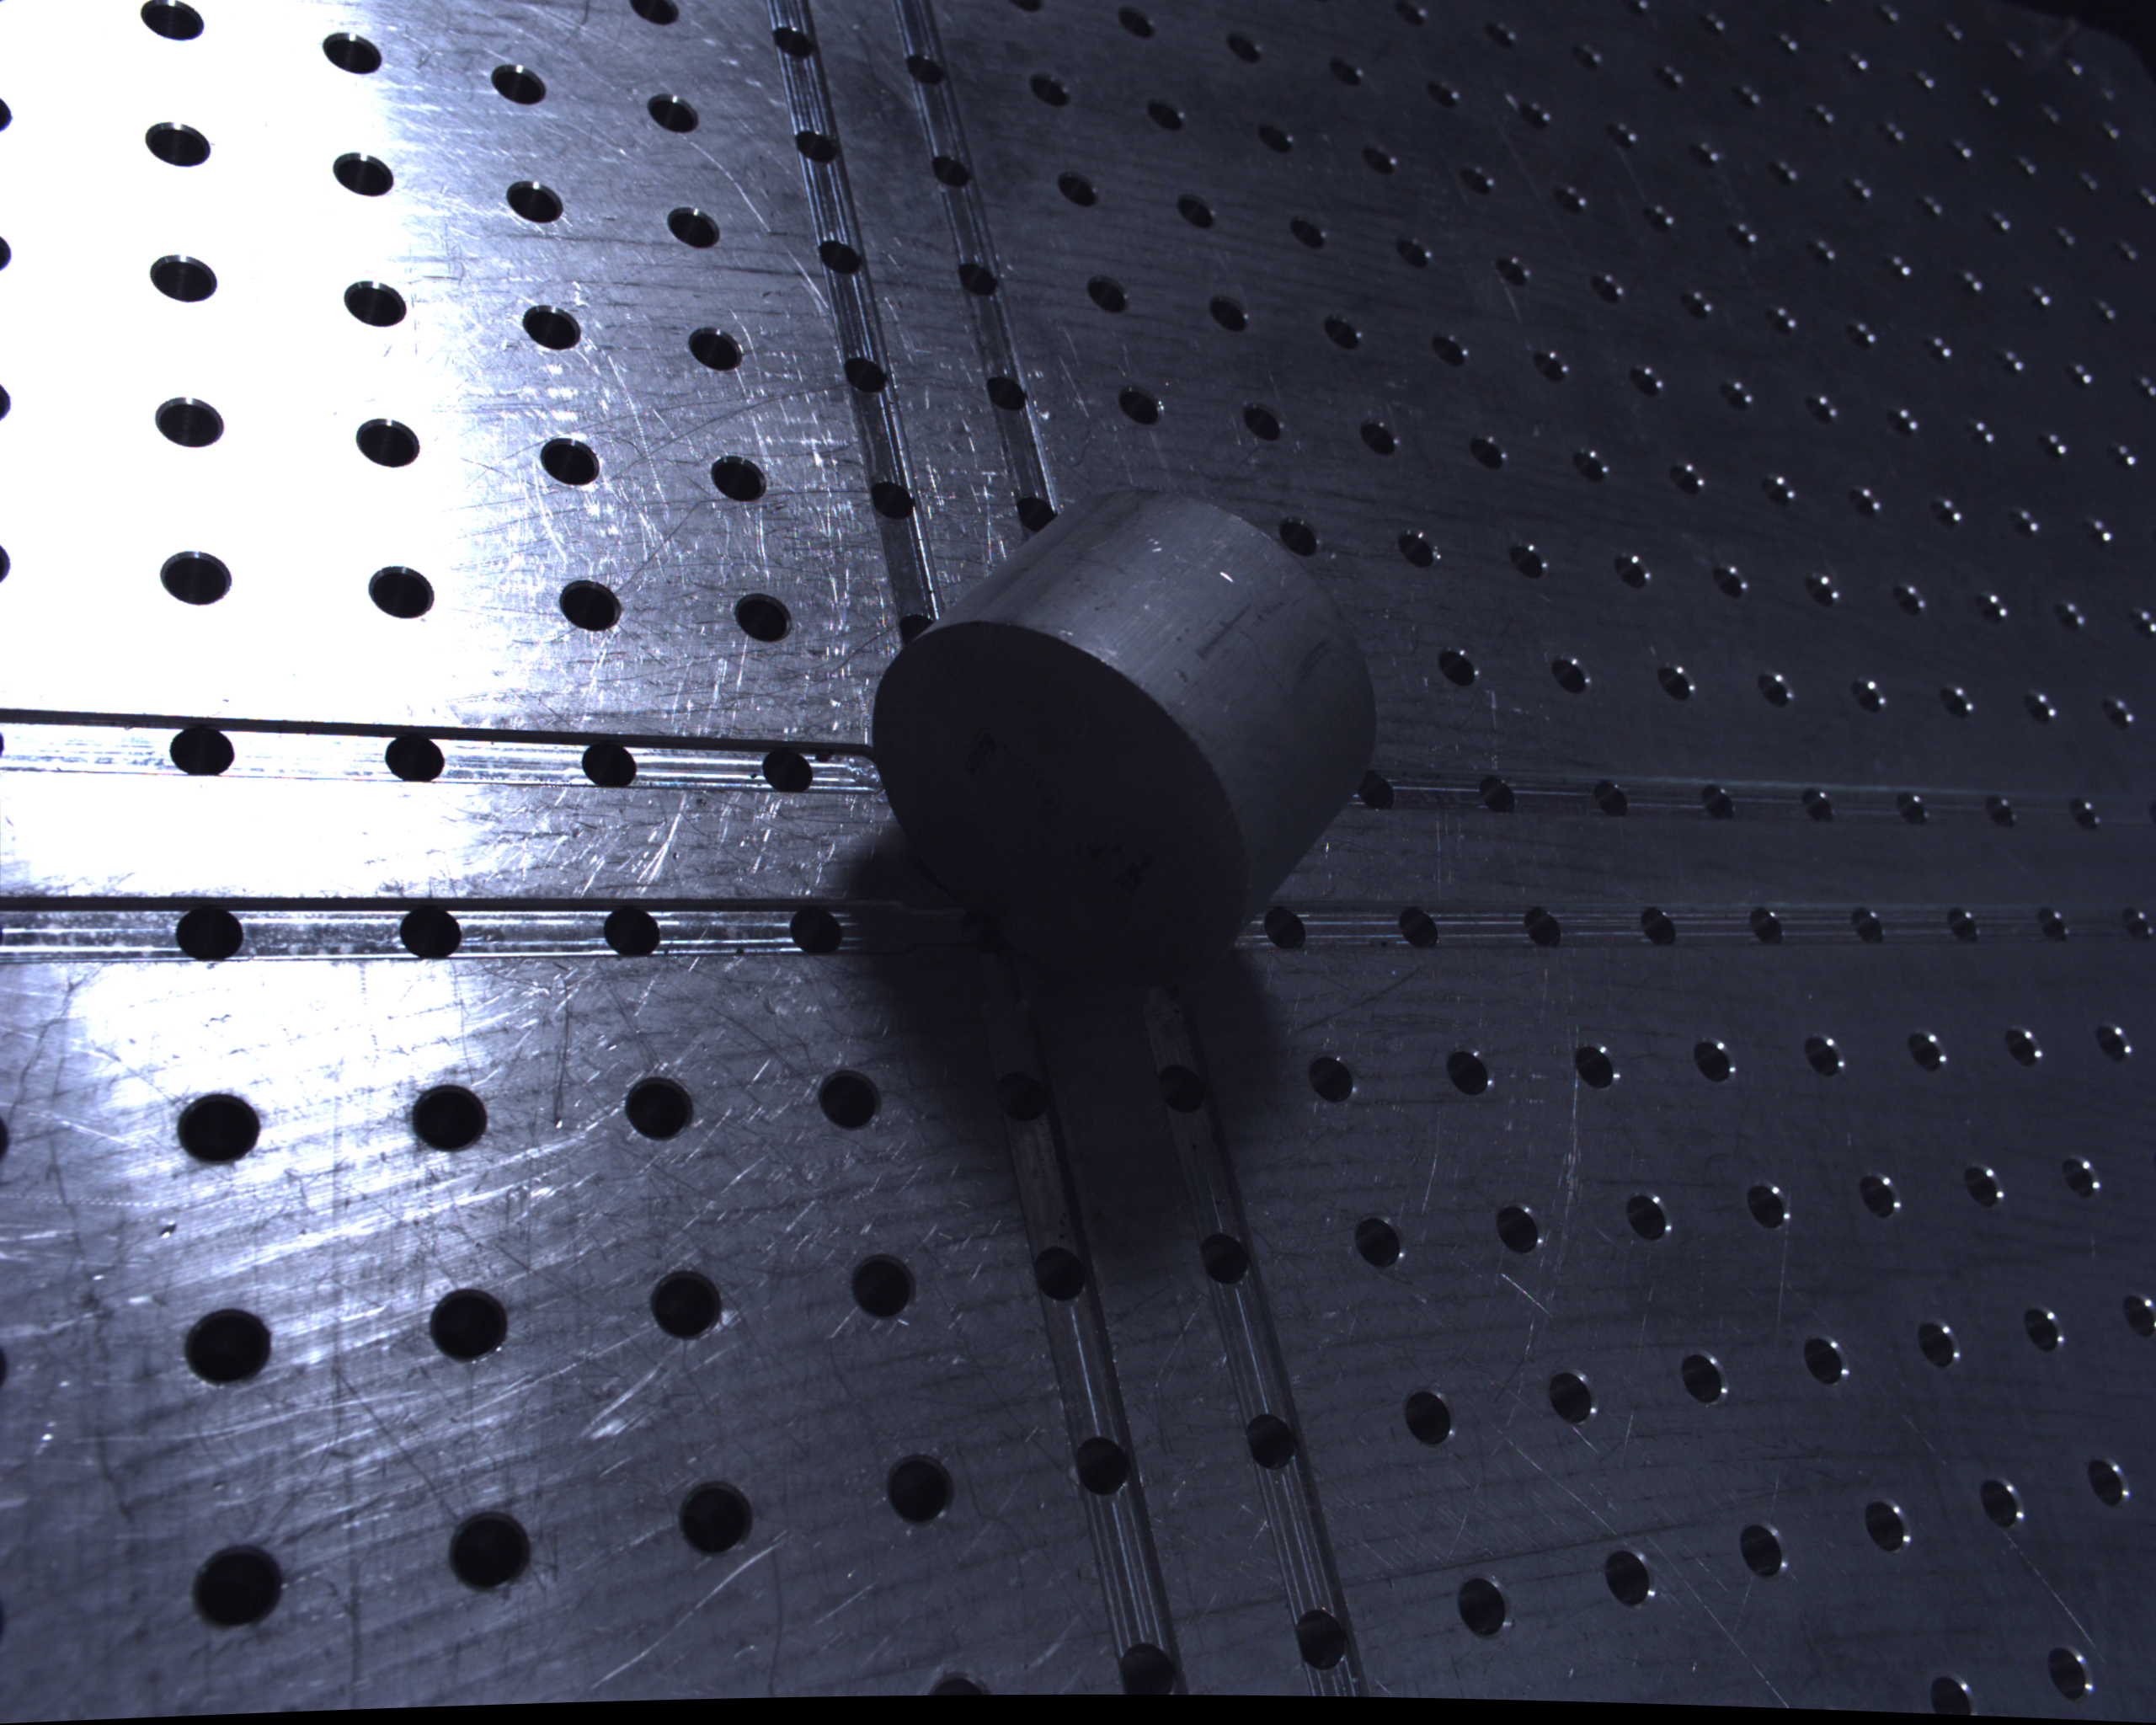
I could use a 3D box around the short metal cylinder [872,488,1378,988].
[{"bbox_3d":[0.009,-0.023,0.392,0.080,0.080,0.050,42,51,0],"label":"short metal cylinder"}]
